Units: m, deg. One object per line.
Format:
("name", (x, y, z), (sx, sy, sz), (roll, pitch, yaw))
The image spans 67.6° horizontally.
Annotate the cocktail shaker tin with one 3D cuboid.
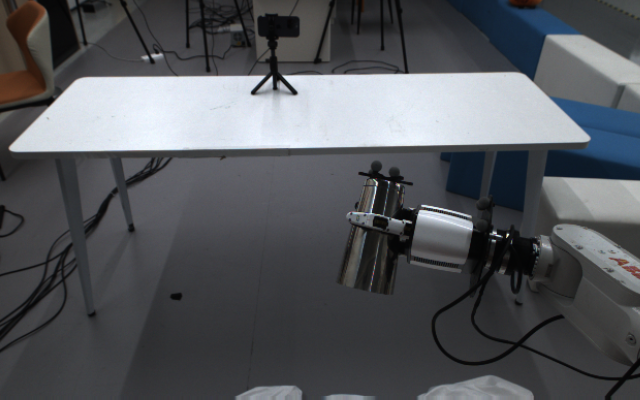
("cocktail shaker tin", (0.088, 0.056, 0.769), (0.093, 0.170, 0.093), (12, -5, 1))
